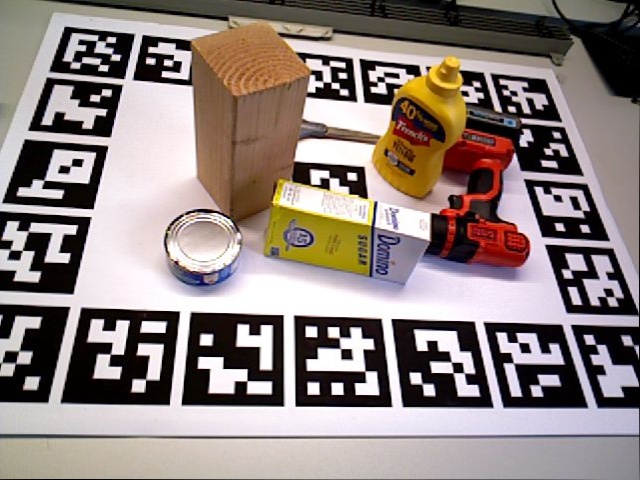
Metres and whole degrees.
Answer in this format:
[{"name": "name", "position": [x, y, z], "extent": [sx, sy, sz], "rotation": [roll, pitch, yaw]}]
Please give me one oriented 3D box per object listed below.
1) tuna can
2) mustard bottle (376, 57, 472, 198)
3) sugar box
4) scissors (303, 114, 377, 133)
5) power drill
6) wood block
[{"name": "tuna can", "position": [-0.129, 0.004, 0.603], "extent": [0.085, 0.034, 0.084], "rotation": [5, 59, -9]}, {"name": "mustard bottle", "position": [0.131, -0.141, 0.658], "extent": [0.057, 0.196, 0.096], "rotation": [-35, 71, -27]}, {"name": "sugar box", "position": [0.037, -0.007, 0.610], "extent": [0.175, 0.095, 0.044], "rotation": [14, 53, -4]}, {"name": "scissors", "position": [-0.021, -0.158, 0.736], "extent": [0.201, 0.016, 0.086], "rotation": [5, 54, -7]}, {"name": "power drill", "position": [0.170, -0.064, 0.689], "extent": [0.184, 0.058, 0.184], "rotation": [14, 65, -1]}, {"name": "wood block", "position": [-0.081, -0.124, 0.602], "extent": [0.089, 0.211, 0.089], "rotation": [-23, 66, -23]}]
